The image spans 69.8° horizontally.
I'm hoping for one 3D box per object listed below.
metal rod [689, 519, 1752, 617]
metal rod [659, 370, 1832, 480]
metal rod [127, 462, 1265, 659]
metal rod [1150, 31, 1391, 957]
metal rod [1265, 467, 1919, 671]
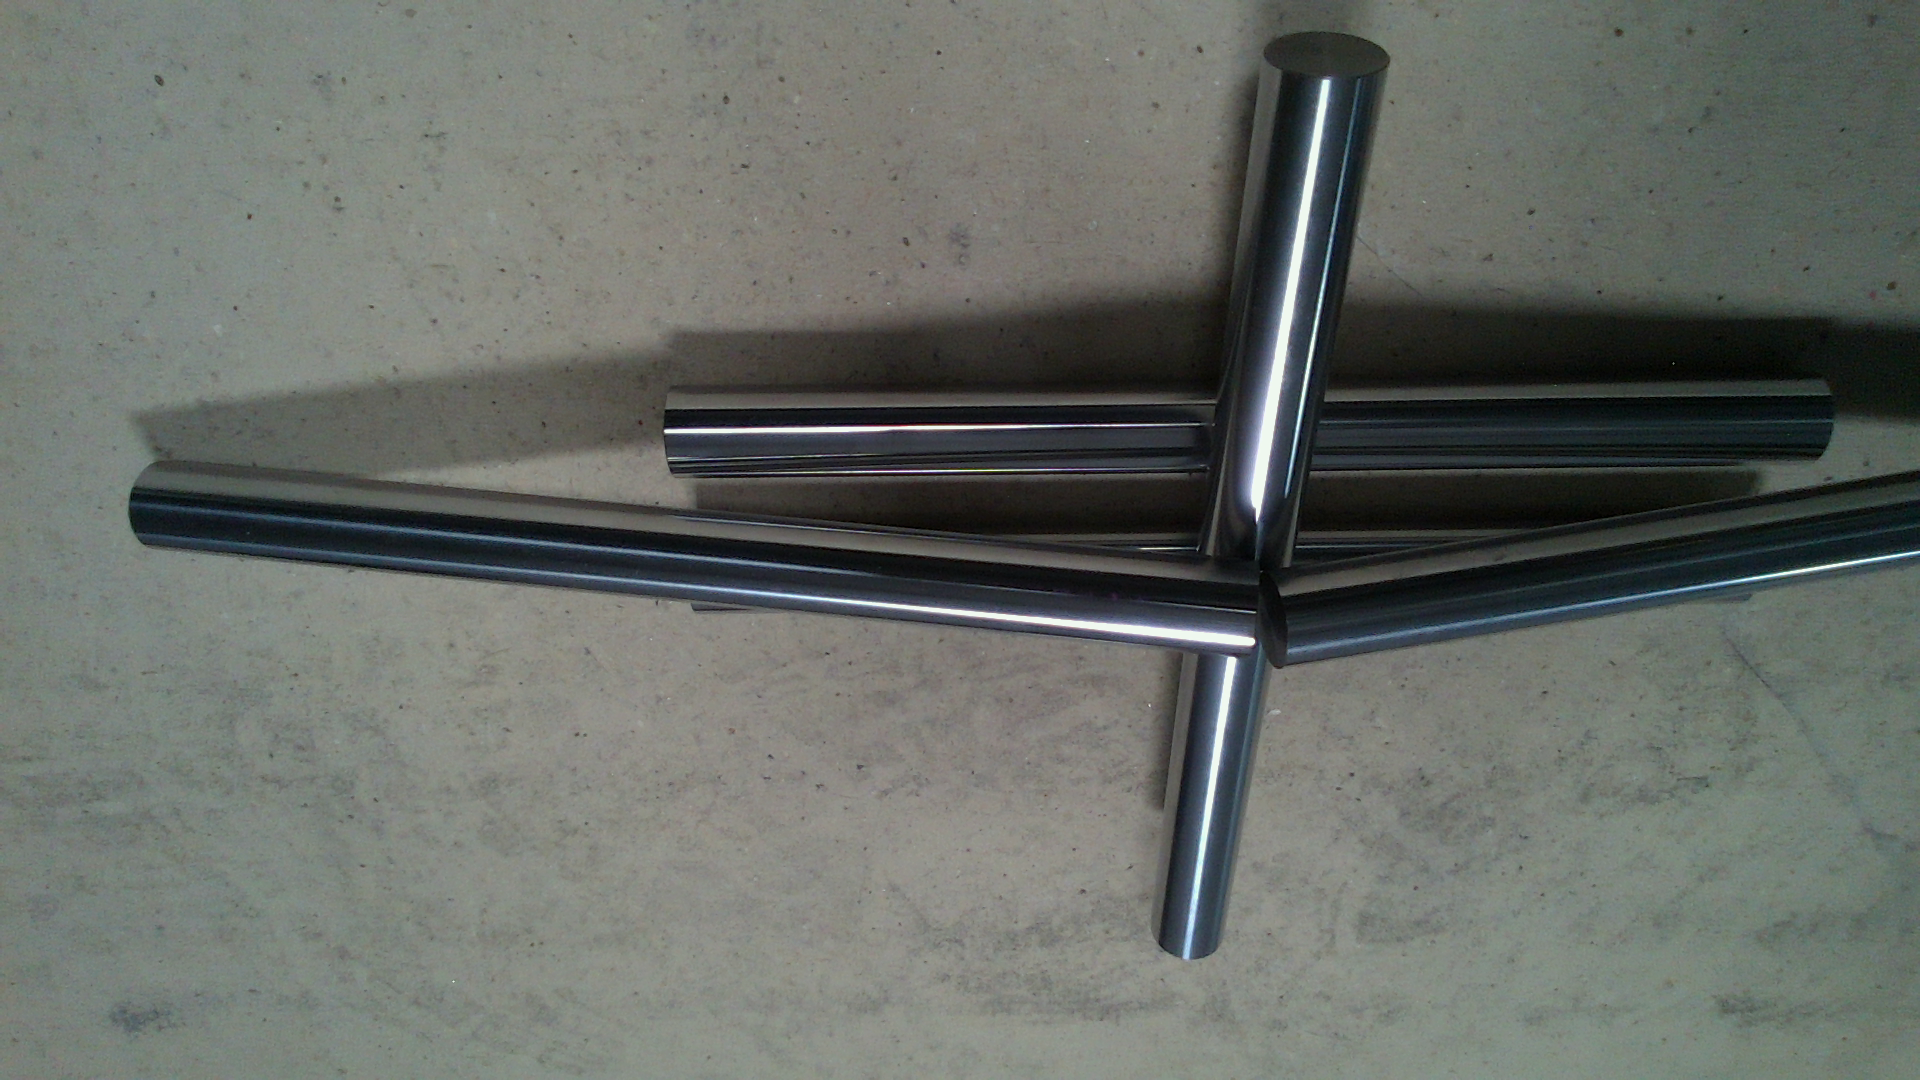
[{"bbox_3d":[0.073,0.008,0.397,0.300,0.025,0.025,-1,130,0],"label":"metal rod"},{"bbox_3d":[0.073,-0.031,0.365,0.300,0.025,0.025,-1,130,0],"label":"metal rod"},{"bbox_3d":[-0.074,0.004,0.361,0.300,0.025,0.025,5,131,8],"label":"metal rod"},{"bbox_3d":[0.075,0.017,0.373,0.025,0.025,0.300,-1,130,0],"label":"metal rod"},{"bbox_3d":[0.224,-0.003,0.357,0.300,0.025,0.025,-9,130,-6],"label":"metal rod"}]
